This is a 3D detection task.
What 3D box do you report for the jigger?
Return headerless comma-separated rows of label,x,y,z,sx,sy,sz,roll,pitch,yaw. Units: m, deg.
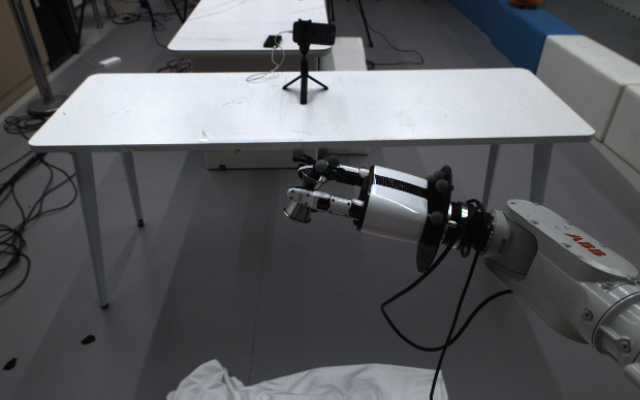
jigger,-0.022,-0.007,0.700,0.043,0.071,0.043,23,19,-8
